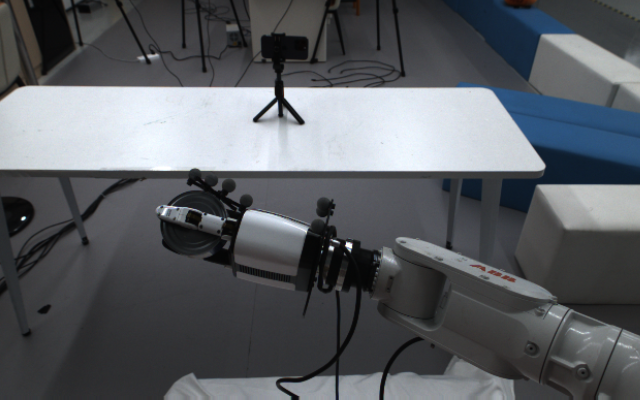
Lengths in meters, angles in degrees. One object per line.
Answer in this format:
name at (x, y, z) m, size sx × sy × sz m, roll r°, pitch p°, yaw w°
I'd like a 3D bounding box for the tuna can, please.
tuna can at (-0.158, 0.032, 0.629) m, size 0.085 × 0.034 × 0.085 m, roll 0°, pitch 72°, yaw 0°
